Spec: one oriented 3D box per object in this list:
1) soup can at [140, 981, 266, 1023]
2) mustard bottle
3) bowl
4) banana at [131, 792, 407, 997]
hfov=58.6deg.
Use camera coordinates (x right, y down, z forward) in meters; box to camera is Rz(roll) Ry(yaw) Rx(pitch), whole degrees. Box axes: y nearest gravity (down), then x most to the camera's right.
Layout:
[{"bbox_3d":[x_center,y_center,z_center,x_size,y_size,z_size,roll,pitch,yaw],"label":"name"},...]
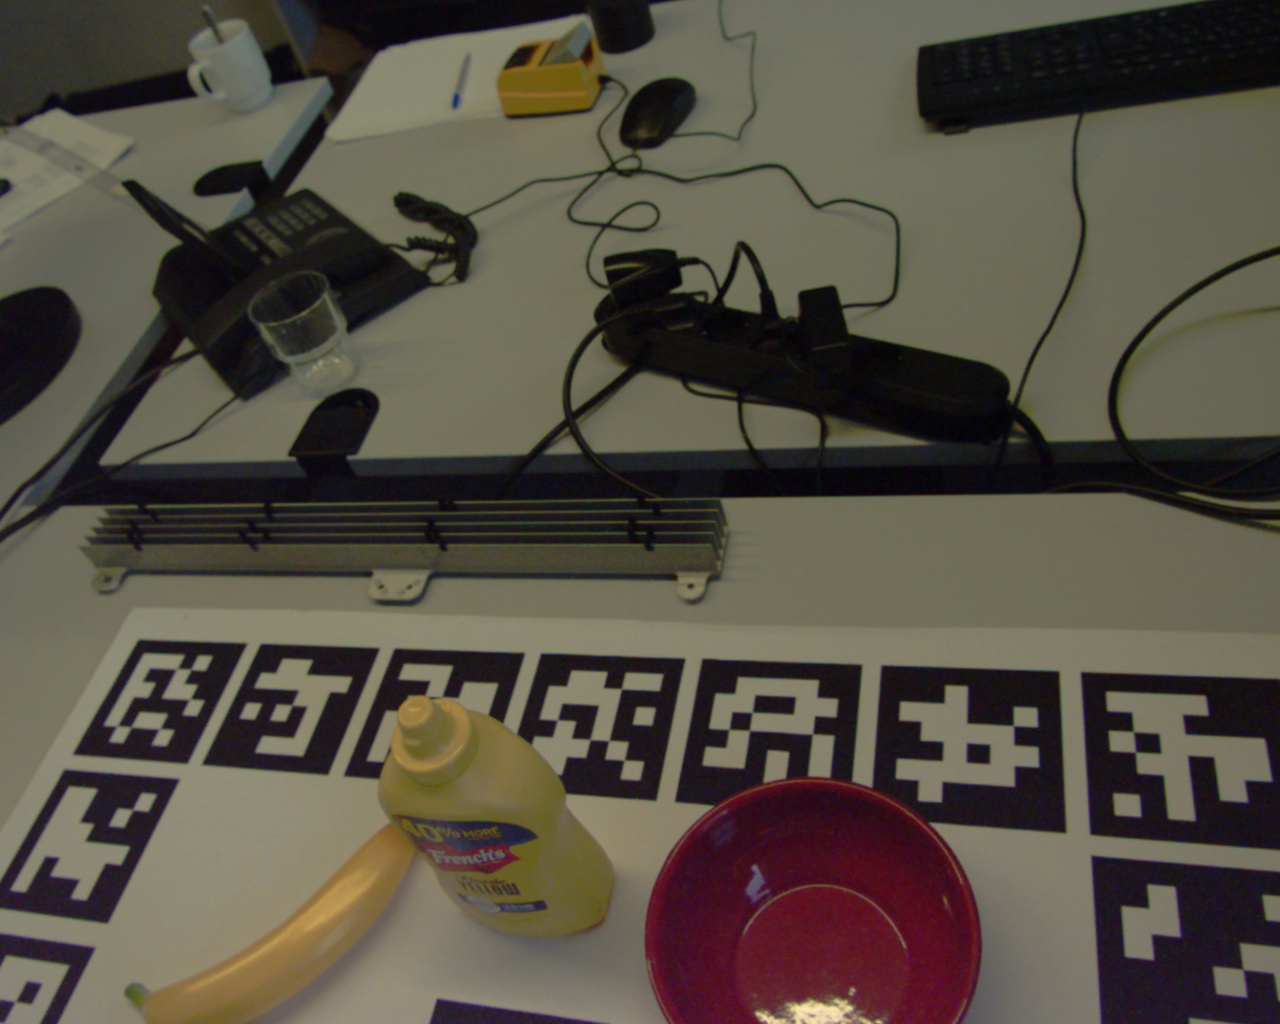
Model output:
[{"bbox_3d":[-0.211,0.296,0.588,0.068,0.101,0.068,-9,44,8],"label":"soup can"},{"bbox_3d":[-0.091,0.149,0.618,0.097,0.190,0.058,0,45,18],"label":"mustard bottle"},{"bbox_3d":[0.087,0.215,0.608,0.162,0.055,0.162,-12,44,11],"label":"bowl"},{"bbox_3d":[-0.219,0.240,0.702,0.196,0.038,0.075,-35,37,-15],"label":"banana"}]
